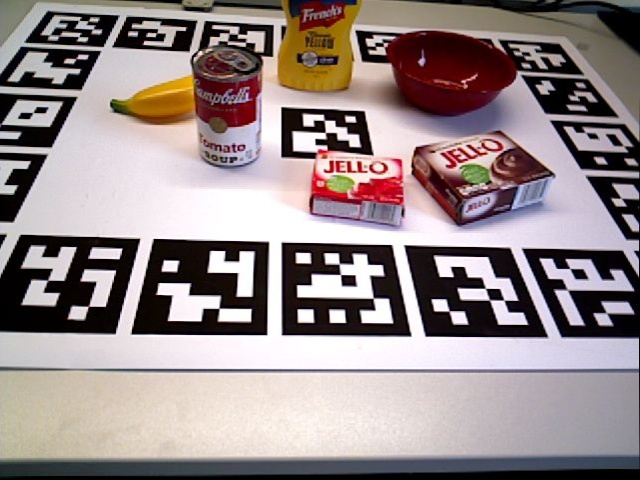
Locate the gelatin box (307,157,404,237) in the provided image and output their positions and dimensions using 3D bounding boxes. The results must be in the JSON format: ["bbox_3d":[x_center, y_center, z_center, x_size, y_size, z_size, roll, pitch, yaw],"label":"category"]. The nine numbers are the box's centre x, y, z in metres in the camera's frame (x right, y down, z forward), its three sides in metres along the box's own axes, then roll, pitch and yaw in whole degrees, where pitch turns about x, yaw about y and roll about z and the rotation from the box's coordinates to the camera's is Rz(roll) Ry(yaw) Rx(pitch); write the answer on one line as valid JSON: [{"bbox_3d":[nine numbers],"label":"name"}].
[{"bbox_3d":[0.035,-0.043,0.521,0.089,0.031,0.072,6,47,1],"label":"gelatin box"}]

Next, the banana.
[{"bbox_3d":[-0.146,-0.186,0.640,0.074,0.039,0.193,26,46,32],"label":"banana"}]

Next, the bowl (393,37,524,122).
[{"bbox_3d":[0.167,-0.195,0.677,0.161,0.056,0.159,2,44,-3],"label":"bowl"}]

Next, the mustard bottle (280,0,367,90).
[{"bbox_3d":[0.006,-0.273,0.618,0.095,0.196,0.057,3,42,-5],"label":"mustard bottle"}]

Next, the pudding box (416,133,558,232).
[{"bbox_3d":[0.169,-0.061,0.548,0.112,0.039,0.089,-16,54,-21],"label":"pudding box"}]

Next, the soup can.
[{"bbox_3d":[-0.096,-0.136,0.536,0.067,0.104,0.067,5,42,-5],"label":"soup can"}]
